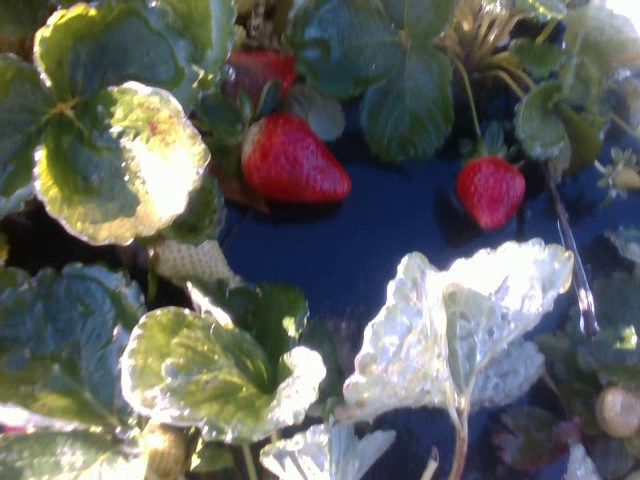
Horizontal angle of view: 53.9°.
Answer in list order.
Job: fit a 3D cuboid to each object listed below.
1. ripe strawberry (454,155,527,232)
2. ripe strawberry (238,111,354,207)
[{"bbox_3d":[0.085,-0.021,0.307,0.039,0.047,0.040,22,-26,-18],"label":"ripe strawberry"},{"bbox_3d":[-0.006,-0.034,0.286,0.056,0.044,0.040,33,-18,-15],"label":"ripe strawberry"}]
